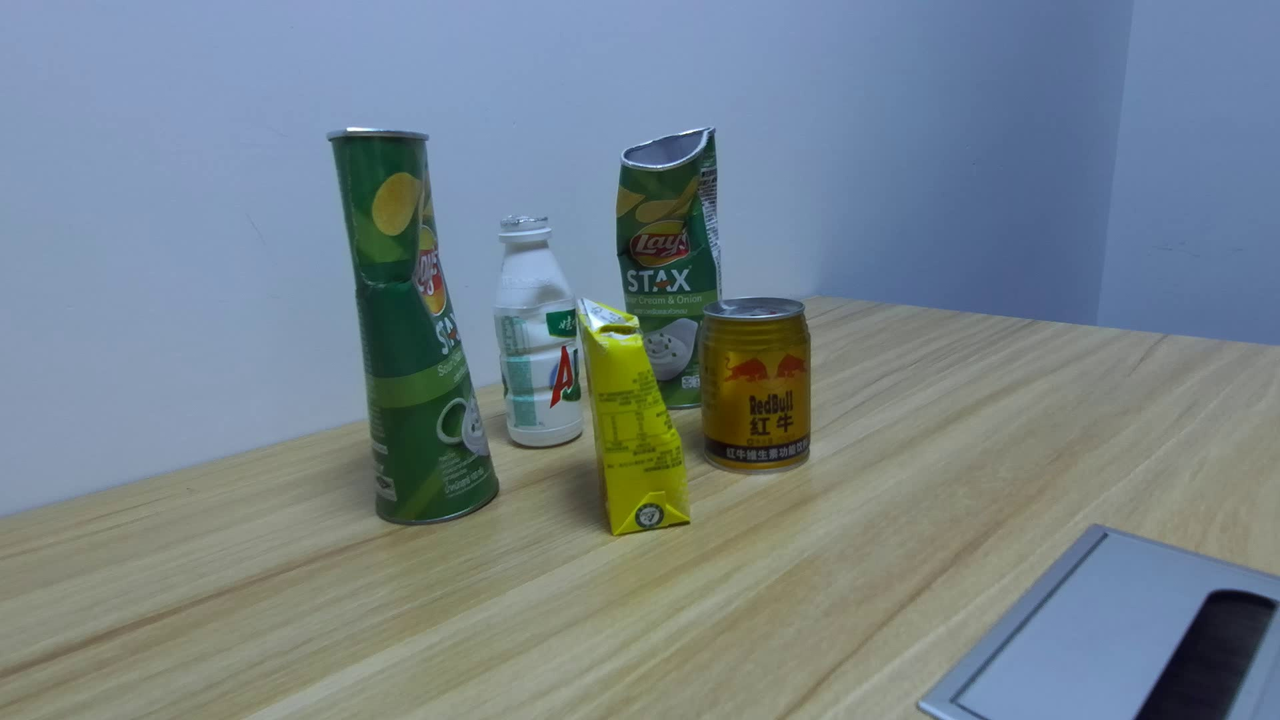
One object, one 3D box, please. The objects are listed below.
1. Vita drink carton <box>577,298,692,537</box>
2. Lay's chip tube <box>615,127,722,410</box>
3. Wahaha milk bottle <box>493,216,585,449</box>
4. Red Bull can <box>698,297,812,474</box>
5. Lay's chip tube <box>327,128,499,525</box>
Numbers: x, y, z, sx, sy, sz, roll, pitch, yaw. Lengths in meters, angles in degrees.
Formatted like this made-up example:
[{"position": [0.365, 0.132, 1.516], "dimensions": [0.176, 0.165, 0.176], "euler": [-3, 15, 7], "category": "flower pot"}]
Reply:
[{"position": [-0.003, 0.025, 0.367], "dimensions": [0.046, 0.110, 0.071], "euler": [-8, 16, -6], "category": "Vita drink carton"}, {"position": [0.026, -0.060, 0.515], "dimensions": [0.079, 0.199, 0.071], "euler": [-7, 21, -5], "category": "Lay's chip tube"}, {"position": [-0.067, -0.018, 0.466], "dimensions": [0.055, 0.149, 0.055], "euler": [-3, 14, 1], "category": "Wahaha milk bottle"}, {"position": [0.069, 0.013, 0.425], "dimensions": [0.067, 0.093, 0.067], "euler": [-3, 14, 1], "category": "Red Bull can"}, {"position": [-0.123, -0.017, 0.381], "dimensions": [0.069, 0.199, 0.074], "euler": [-17, 20, -39], "category": "Lay's chip tube"}]
